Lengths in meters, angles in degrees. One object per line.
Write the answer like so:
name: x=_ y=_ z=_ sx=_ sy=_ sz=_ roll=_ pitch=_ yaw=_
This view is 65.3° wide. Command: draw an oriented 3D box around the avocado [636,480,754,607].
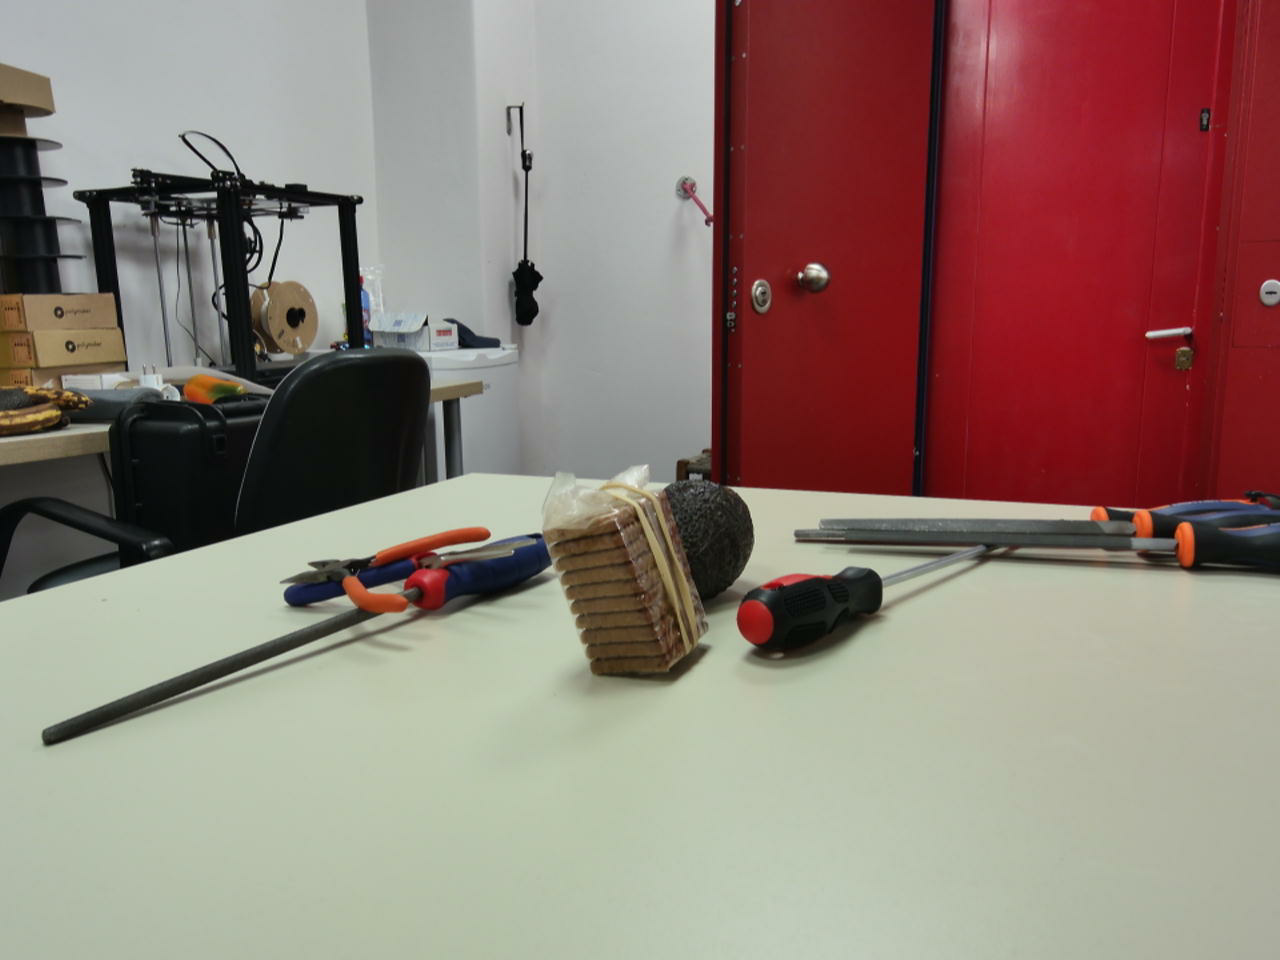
avocado: x=0.029 y=0.035 z=0.594 sx=0.090 sy=0.069 sz=0.070 roll=-6 pitch=9 yaw=-41
